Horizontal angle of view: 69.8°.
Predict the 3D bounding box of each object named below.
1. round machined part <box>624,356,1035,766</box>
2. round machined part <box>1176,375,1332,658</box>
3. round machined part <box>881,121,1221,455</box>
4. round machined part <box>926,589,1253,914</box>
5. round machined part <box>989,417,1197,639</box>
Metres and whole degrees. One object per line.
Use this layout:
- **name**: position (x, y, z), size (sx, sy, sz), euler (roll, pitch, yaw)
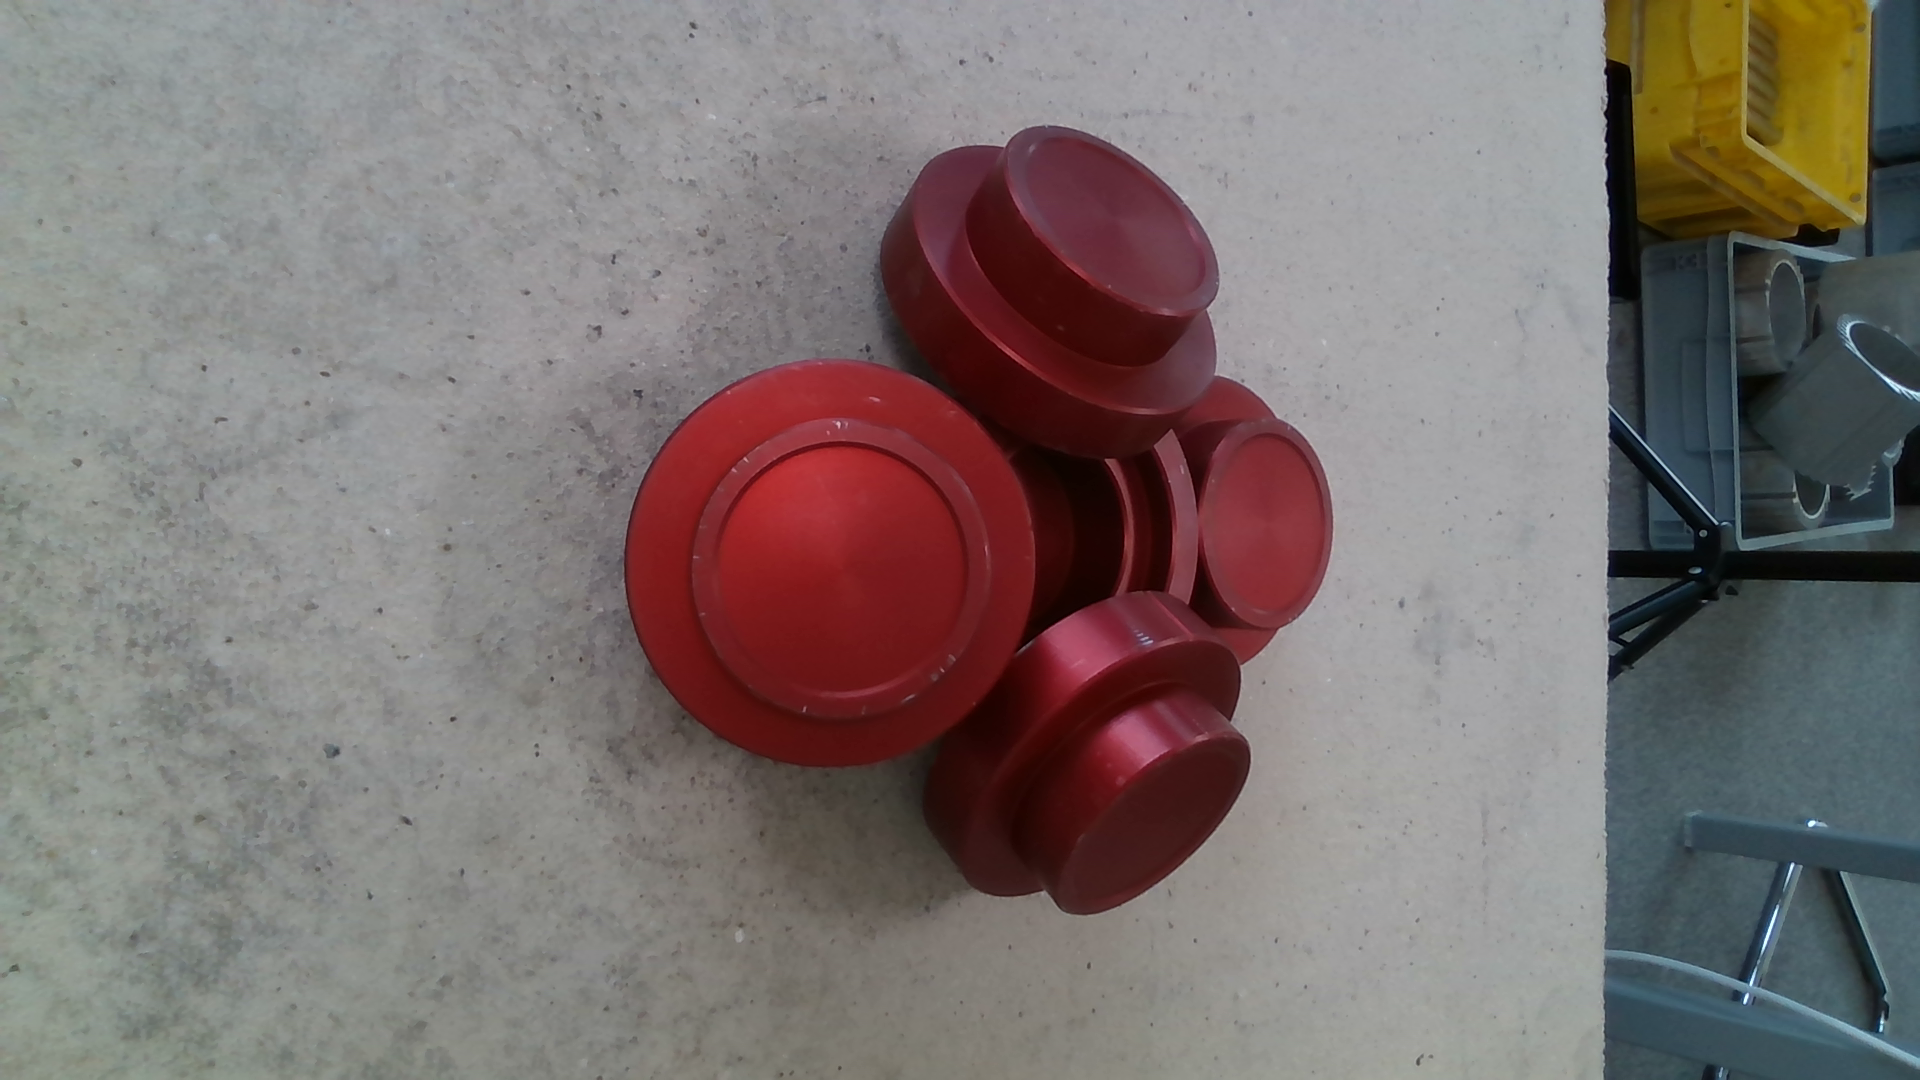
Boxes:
- **round machined part**: position (-0.030, 0.005, 0.327), size (0.098, 0.042, 0.098), euler (0, 92, -10)
- **round machined part**: position (0.085, -0.006, 0.452), size (0.098, 0.042, 0.098), euler (0, 89, -42)
- **round machined part**: position (0.031, -0.074, 0.375), size (0.098, 0.042, 0.098), euler (19, 47, -22)
- **round machined part**: position (0.042, 0.065, 0.383), size (0.098, 0.042, 0.098), euler (-26, 141, -23)
- **round machined part**: position (0.021, -0.001, 0.398), size (0.098, 0.042, 0.098), euler (3, 86, -41)
